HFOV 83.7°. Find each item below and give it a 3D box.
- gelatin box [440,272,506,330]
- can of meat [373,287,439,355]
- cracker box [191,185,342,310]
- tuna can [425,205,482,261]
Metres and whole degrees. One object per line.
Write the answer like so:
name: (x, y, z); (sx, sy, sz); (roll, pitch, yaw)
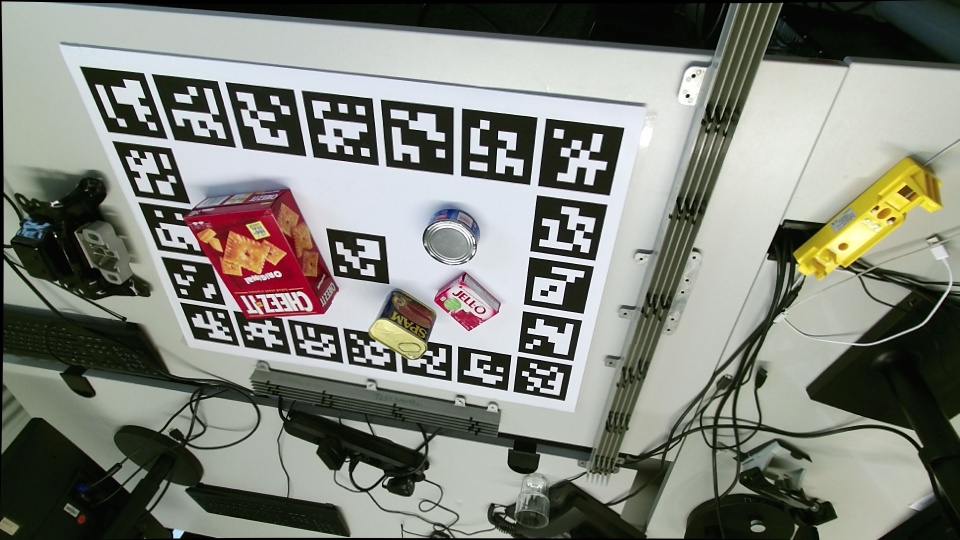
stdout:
gelatin box: (-0.013, 0.056, 0.930); (0.089, 0.030, 0.073); (43, 127, -17)
can of meat: (-0.129, 0.088, 0.957); (0.102, 0.083, 0.058); (31, 128, -13)
cracker box: (-0.363, -0.031, 0.923); (0.165, 0.072, 0.214); (-5, 127, 18)
tuna can: (-0.041, -0.058, 0.842); (0.086, 0.033, 0.086); (5, 125, 8)
